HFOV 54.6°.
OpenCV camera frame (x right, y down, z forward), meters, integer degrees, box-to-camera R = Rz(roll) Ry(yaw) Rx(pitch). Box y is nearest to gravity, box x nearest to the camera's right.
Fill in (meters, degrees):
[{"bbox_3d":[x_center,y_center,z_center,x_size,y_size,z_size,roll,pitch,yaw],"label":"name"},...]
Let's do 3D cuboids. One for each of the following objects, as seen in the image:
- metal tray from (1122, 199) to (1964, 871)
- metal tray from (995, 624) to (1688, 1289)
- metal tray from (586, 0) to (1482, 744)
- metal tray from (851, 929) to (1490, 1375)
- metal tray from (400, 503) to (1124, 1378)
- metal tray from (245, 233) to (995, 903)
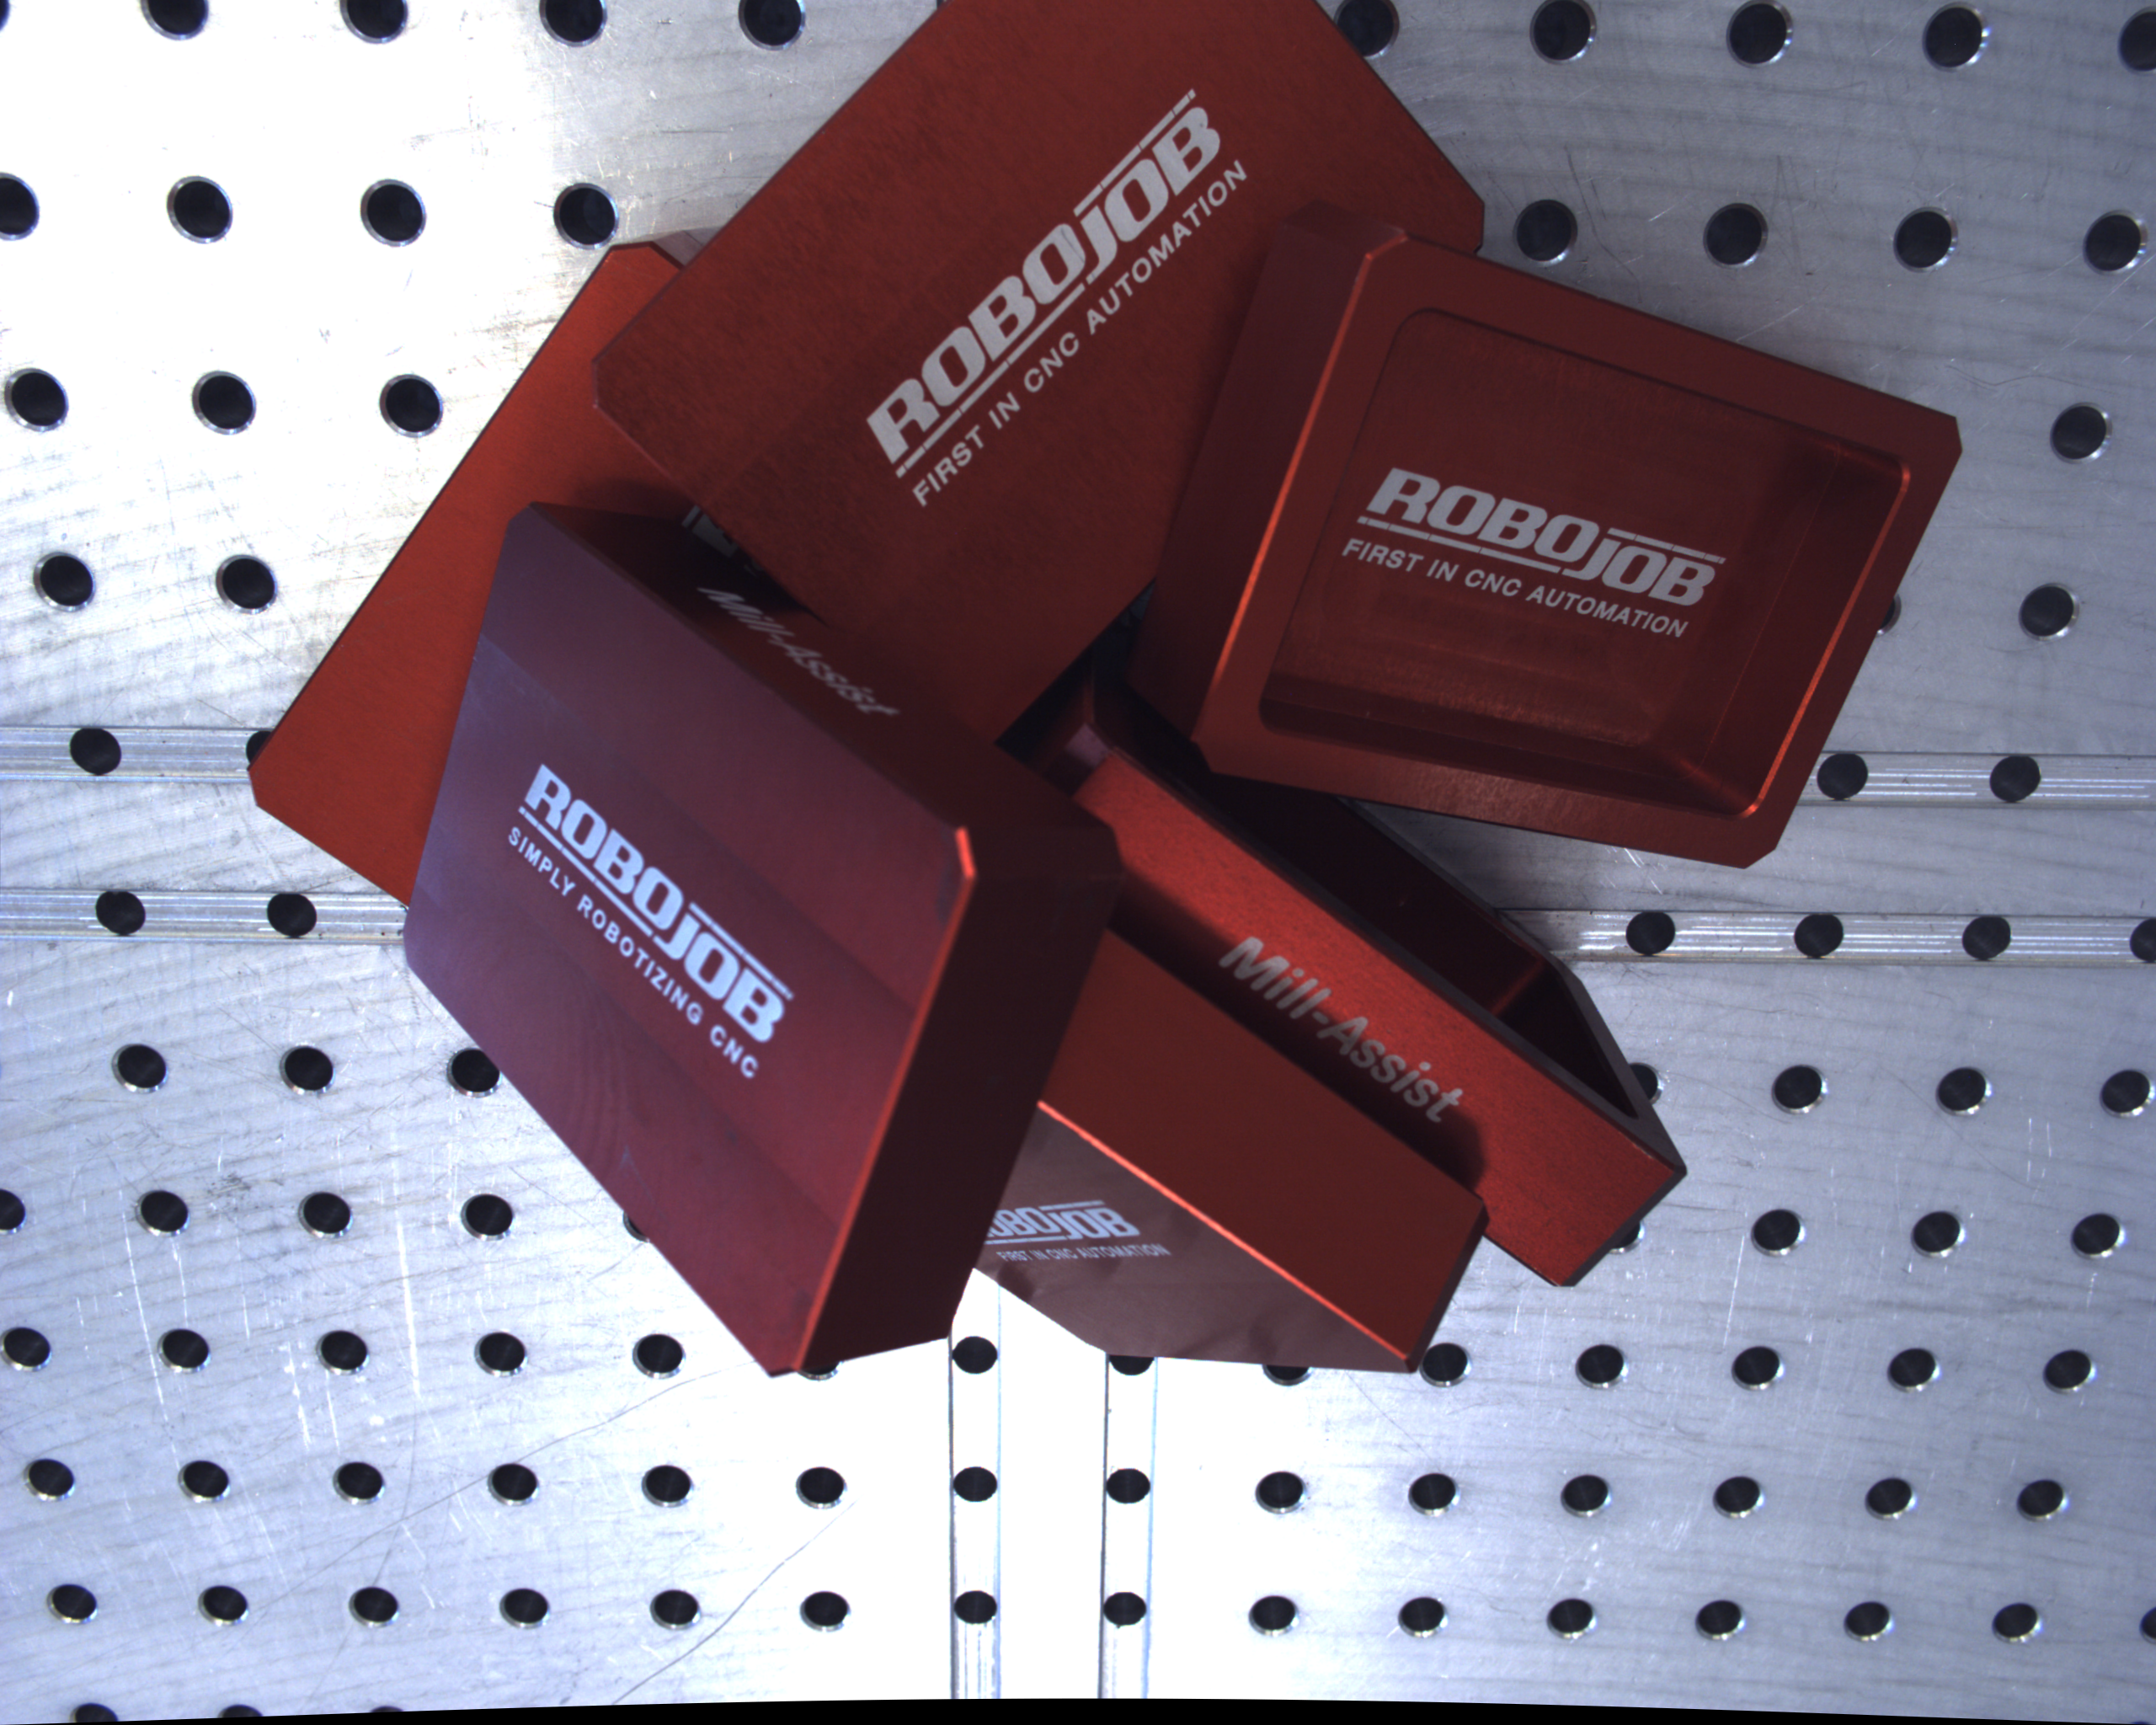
[{"bbox_3d":[0.083,-0.052,0.366,0.131,0.030,0.089,9,112,-27],"label":"metal tray"},{"bbox_3d":[0.044,0.013,0.383,0.130,0.090,0.030,36,106,-13],"label":"metal tray"},{"bbox_3d":[-0.007,-0.095,0.356,0.130,0.030,0.090,-46,108,0],"label":"metal tray"},{"bbox_3d":[0.002,0.055,0.383,0.090,0.130,0.030,37,67,-13],"label":"metal tray"},{"bbox_3d":[-0.058,0.007,0.335,0.030,0.130,0.089,0,117,-46],"label":"metal tray"},{"bbox_3d":[-0.082,-0.040,0.395,0.090,0.030,0.130,37,106,-14],"label":"metal tray"}]
